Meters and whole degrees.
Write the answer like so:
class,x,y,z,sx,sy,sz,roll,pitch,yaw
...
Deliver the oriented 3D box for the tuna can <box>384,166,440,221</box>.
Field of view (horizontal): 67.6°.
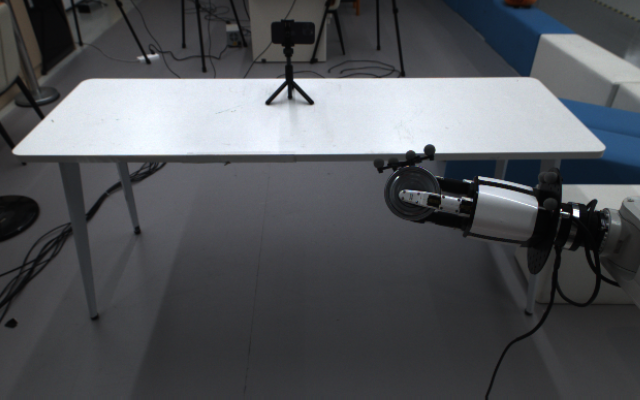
class,x,y,z,sx,sy,sz,roll,pitch,yaw
tuna can,0.144,-0.013,0.746,0.085,0.085,0.034,12,3,14
